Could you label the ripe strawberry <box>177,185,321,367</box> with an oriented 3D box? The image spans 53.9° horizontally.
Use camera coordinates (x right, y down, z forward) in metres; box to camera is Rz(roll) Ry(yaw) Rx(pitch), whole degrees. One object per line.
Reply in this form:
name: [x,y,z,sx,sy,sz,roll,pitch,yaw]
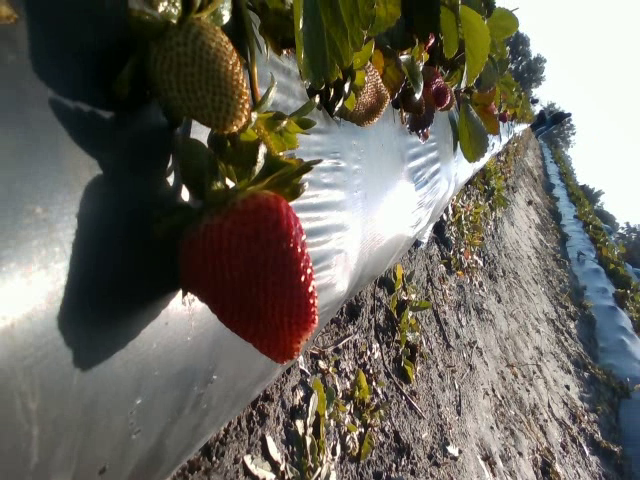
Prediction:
ripe strawberry: [-0.020,0.012,0.179,0.042,0.059,0.042,-19,-13,7]
